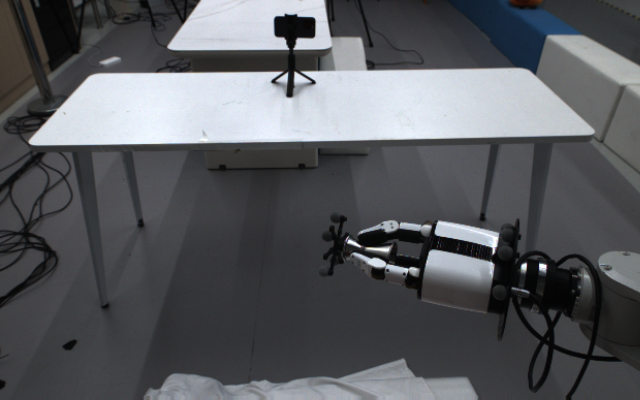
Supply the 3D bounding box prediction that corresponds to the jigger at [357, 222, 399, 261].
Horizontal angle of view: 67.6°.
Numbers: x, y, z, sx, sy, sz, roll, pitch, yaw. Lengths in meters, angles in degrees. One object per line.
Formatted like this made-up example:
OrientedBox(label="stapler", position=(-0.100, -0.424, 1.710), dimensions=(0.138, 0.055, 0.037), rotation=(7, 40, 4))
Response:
OrientedBox(label="jigger", position=(0.077, 0.071, 0.687), dimensions=(0.071, 0.043, 0.043), rotation=(10, 35, 22))
